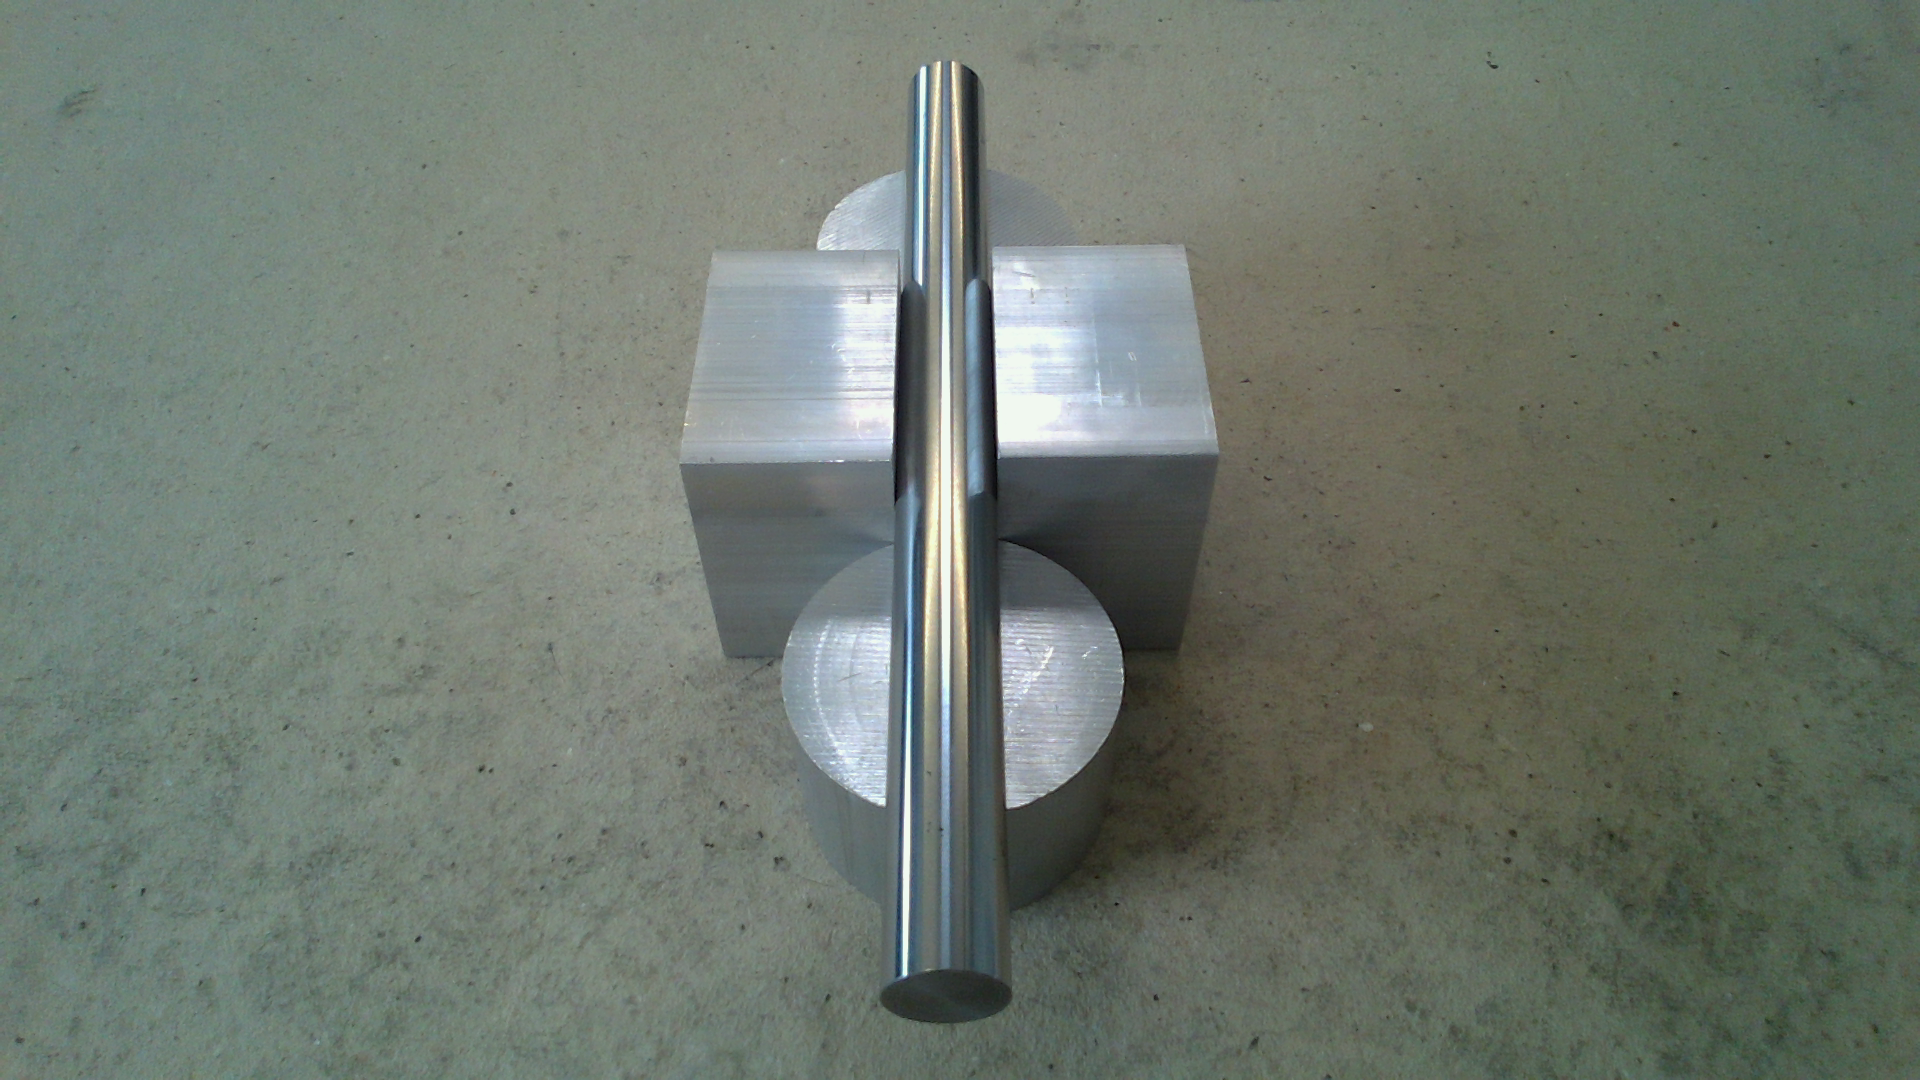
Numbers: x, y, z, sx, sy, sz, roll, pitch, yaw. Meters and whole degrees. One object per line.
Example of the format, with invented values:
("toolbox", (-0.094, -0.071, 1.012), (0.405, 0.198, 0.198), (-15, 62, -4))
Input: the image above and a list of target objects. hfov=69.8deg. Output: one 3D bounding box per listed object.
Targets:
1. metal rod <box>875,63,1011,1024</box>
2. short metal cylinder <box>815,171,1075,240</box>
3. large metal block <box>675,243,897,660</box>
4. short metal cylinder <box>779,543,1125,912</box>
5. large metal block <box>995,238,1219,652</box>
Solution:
("metal rod", (-0.004, -0.030, 0.351), (0.025, 0.025, 0.300), (0, 50, 0))
("short metal cylinder", (-0.004, -0.075, 0.438), (0.080, 0.050, 0.080), (0, 49, 0))
("large metal block", (-0.041, -0.024, 0.375), (0.050, 0.080, 0.080), (-1, 50, 0))
("short metal cylinder", (-0.002, 0.046, 0.338), (0.080, 0.050, 0.080), (0, 49, 0))
("large metal block", (0.035, -0.025, 0.377), (0.050, 0.080, 0.080), (-1, 50, 0))
